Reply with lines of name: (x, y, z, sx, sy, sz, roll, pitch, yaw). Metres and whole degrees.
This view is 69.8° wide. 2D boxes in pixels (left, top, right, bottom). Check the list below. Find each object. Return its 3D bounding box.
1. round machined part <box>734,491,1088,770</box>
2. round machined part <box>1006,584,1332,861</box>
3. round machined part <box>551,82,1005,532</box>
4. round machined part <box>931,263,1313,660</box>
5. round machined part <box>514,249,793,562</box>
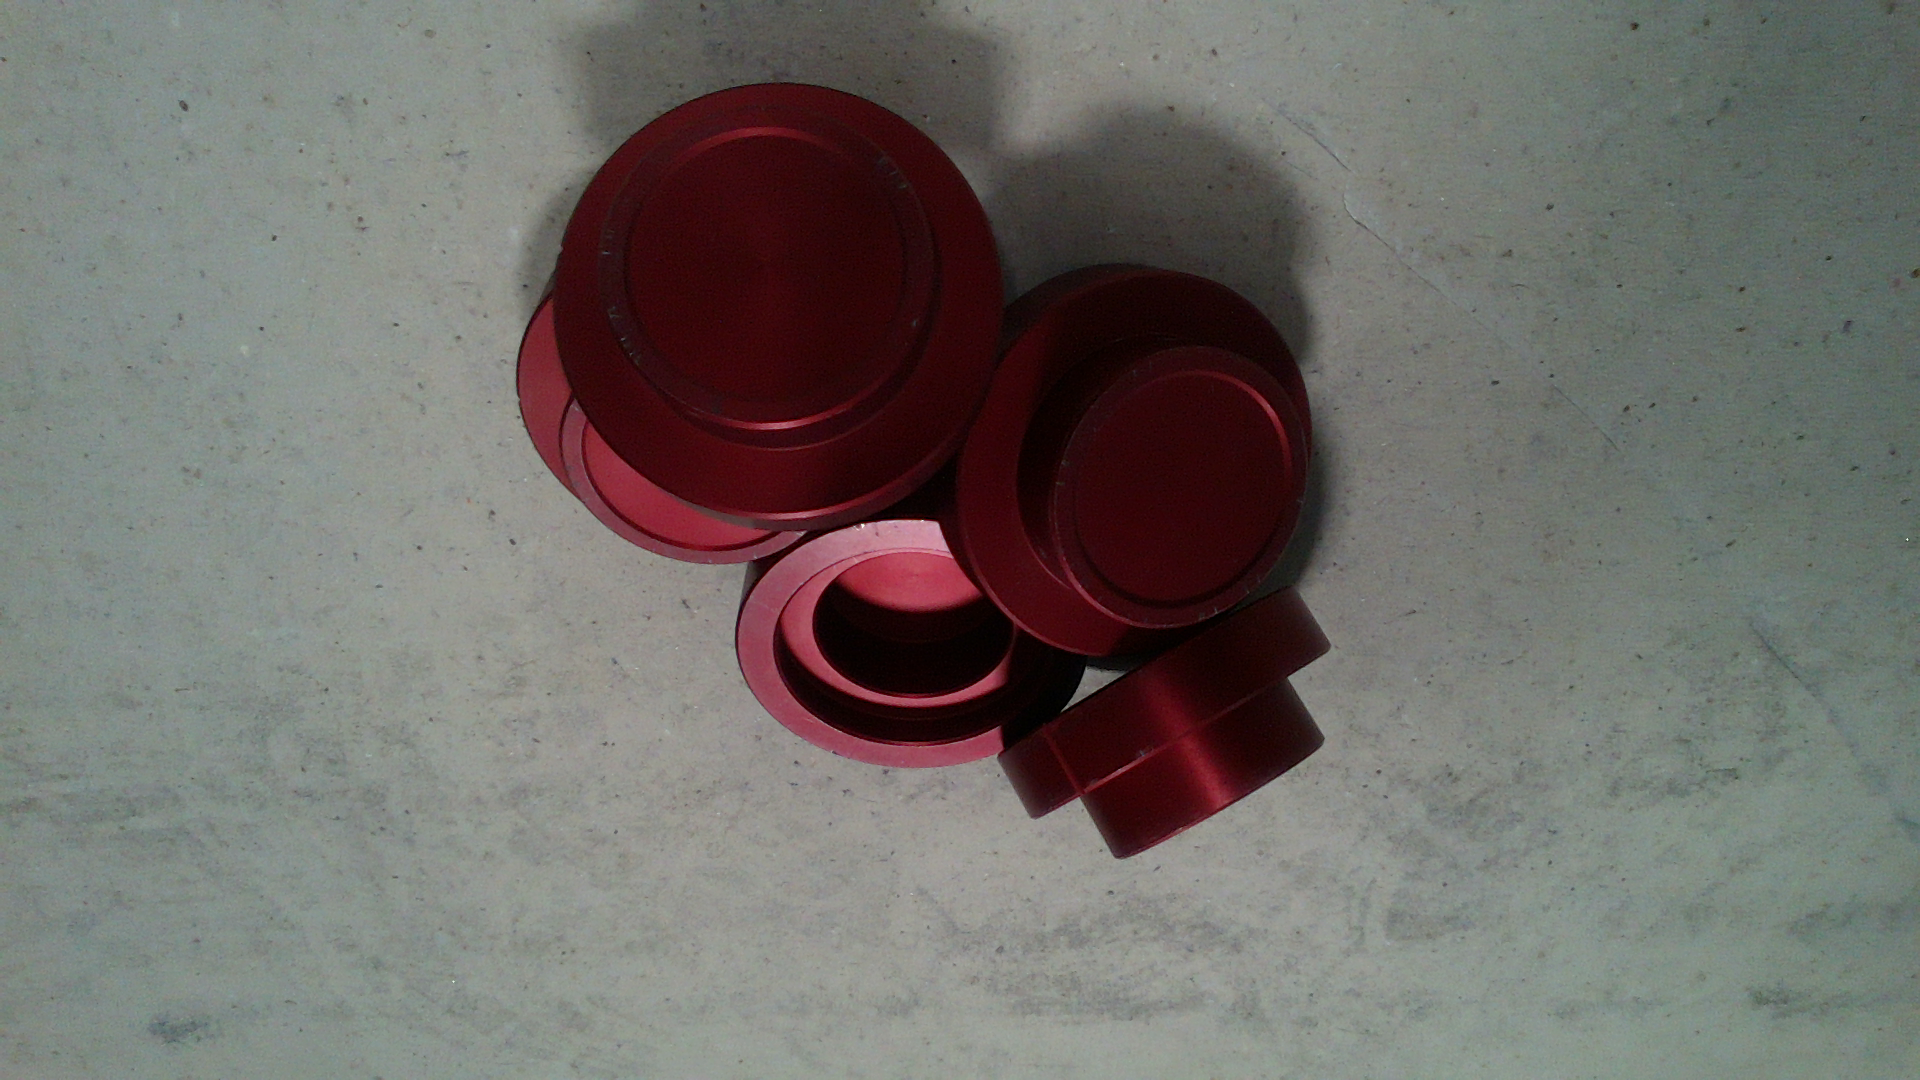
round machined part: (-0.013, 0.018, 0.395, 0.098, 0.042, 0.098, 0, 130, 0)
round machined part: (0.064, 0.055, 0.391, 0.098, 0.098, 0.042, -36, 81, 26)
round machined part: (-0.039, -0.053, 0.296, 0.098, 0.098, 0.042, 1, 172, -1)
round machined part: (0.046, -0.017, 0.337, 0.098, 0.042, 0.098, -6, 108, -20)
round machined part: (-0.065, -0.033, 0.353, 0.098, 0.042, 0.098, 0, 130, 0)
